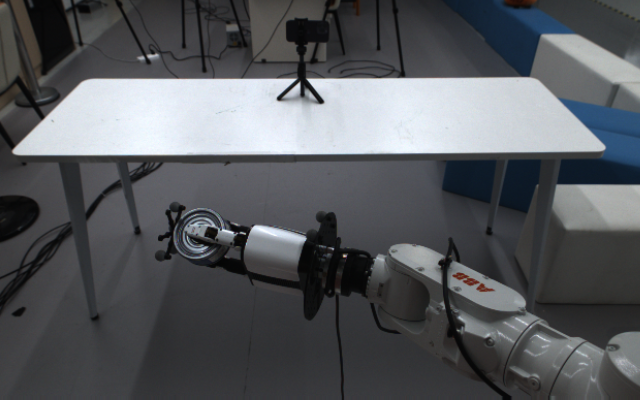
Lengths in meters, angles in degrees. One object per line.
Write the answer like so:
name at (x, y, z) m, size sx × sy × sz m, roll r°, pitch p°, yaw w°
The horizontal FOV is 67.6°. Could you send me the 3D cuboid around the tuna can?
tuna can at (-0.179, 0.060, 0.743) m, size 0.085 × 0.034 × 0.085 m, roll -2°, pitch 70°, yaw 7°
